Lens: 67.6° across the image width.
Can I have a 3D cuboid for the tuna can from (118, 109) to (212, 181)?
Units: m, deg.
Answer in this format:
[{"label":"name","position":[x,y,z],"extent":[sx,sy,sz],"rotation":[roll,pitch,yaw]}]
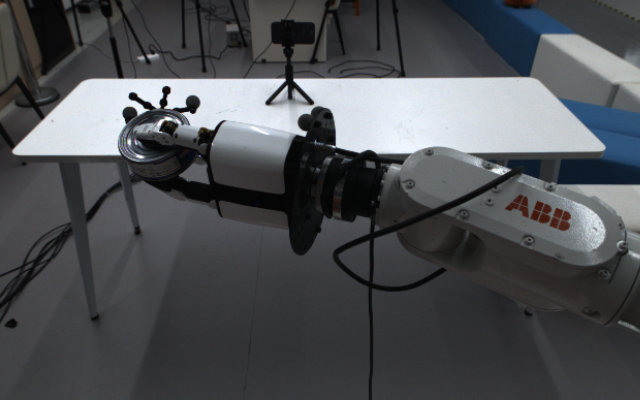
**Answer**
[{"label":"tuna can","position":[-0.185,-0.059,0.566],"extent":[0.085,0.034,0.085],"rotation":[-3,61,5]}]
